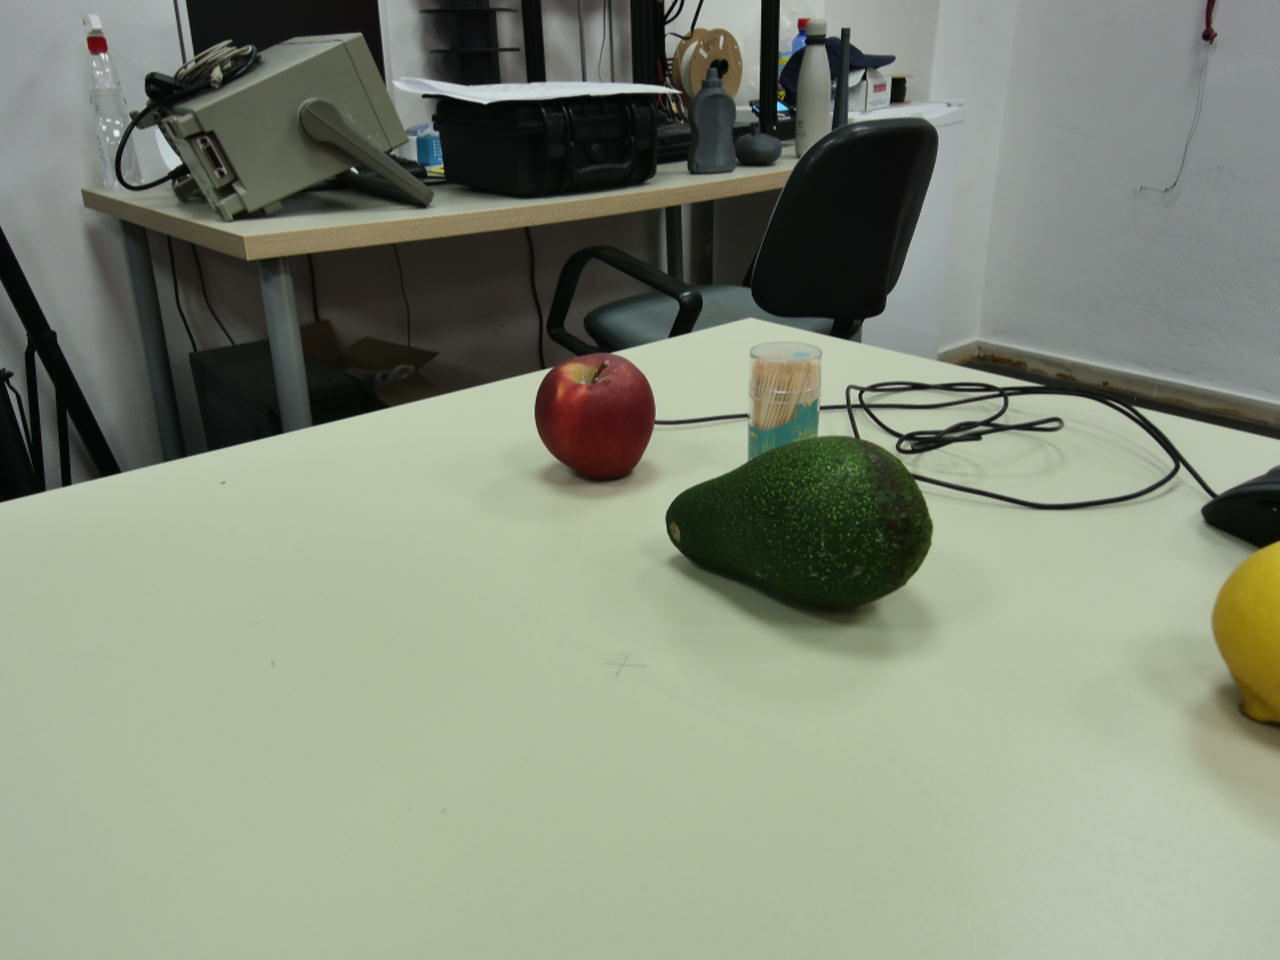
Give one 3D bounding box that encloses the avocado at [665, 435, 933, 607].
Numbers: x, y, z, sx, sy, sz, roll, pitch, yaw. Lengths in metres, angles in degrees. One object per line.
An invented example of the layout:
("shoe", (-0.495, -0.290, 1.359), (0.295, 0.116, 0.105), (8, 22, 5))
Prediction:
("avocado", (0.073, 0.013, 0.441), (0.074, 0.076, 0.123), (-14, 25, -30))
